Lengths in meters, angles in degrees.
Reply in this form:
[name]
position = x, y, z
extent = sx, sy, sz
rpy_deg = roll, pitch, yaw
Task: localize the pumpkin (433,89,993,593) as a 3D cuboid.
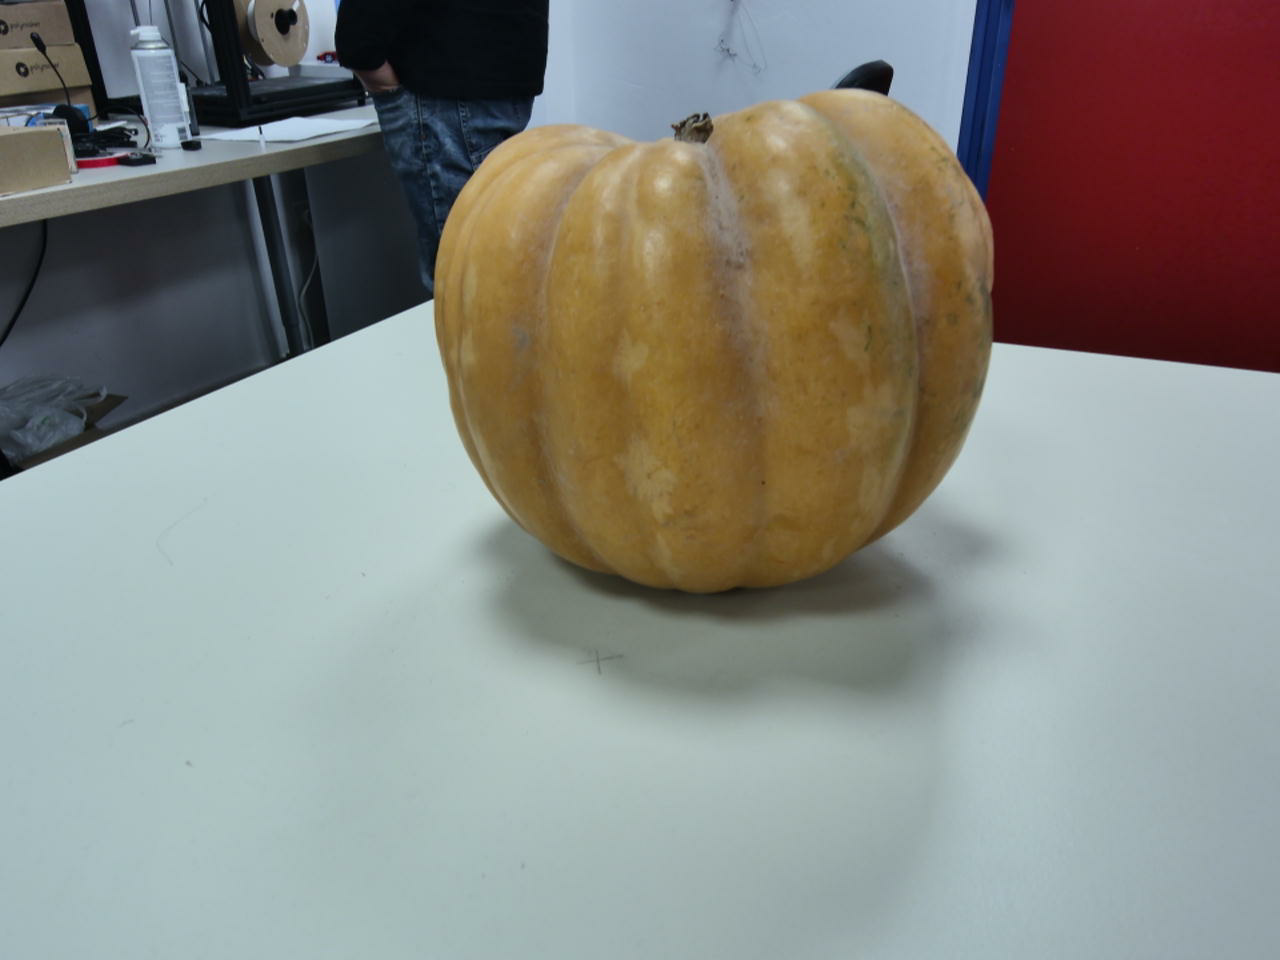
[pumpkin]
position = 0.030, -0.058, 0.413
extent = 0.230, 0.194, 0.230
rpy_deg = 0, 24, 0
